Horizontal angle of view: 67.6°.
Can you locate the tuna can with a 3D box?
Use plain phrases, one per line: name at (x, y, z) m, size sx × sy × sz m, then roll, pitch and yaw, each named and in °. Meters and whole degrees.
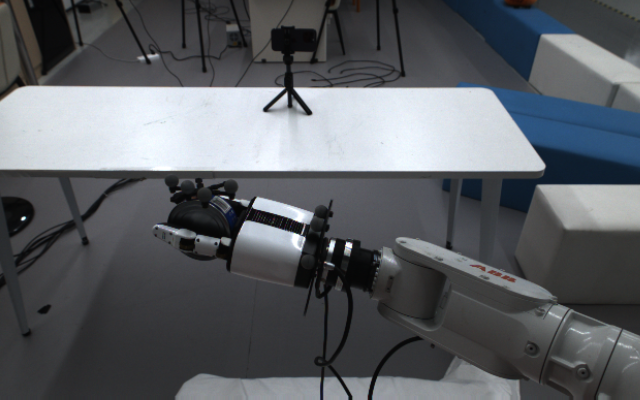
tuna can at (-0.150, 0.034, 0.629) m, size 0.085 × 0.085 × 0.034 m, roll 9°, pitch 22°, yaw 9°
